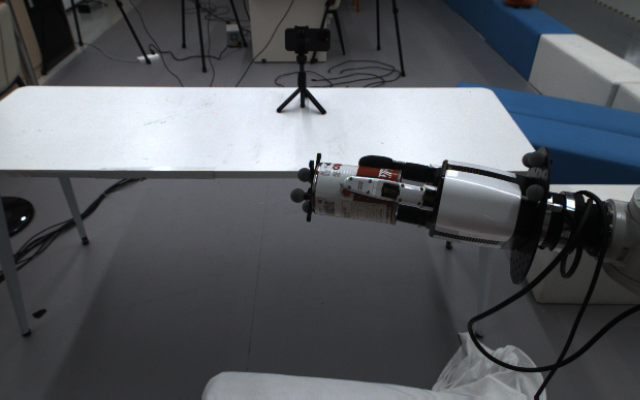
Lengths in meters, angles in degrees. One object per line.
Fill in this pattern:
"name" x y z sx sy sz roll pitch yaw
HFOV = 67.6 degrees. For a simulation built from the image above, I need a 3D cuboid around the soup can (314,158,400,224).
"soup can" 0.049 -0.011 0.598 0.101 0.067 0.067 6 35 10
